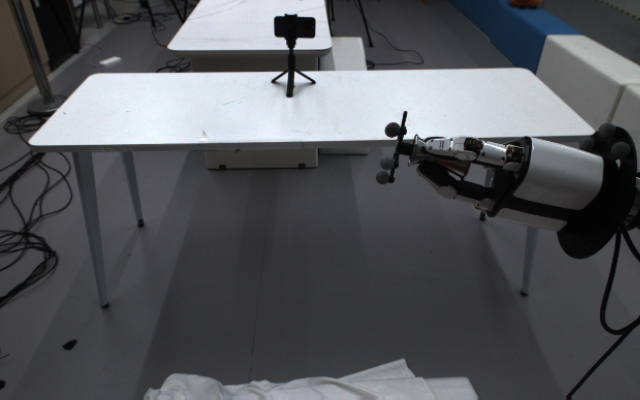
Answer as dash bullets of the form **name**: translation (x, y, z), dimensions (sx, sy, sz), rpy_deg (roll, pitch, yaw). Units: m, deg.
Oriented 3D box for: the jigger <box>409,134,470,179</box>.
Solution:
- **jigger**: translation (0.148, -0.058, 0.588), dimensions (0.071, 0.043, 0.043), rpy_deg (13, 35, 3)
